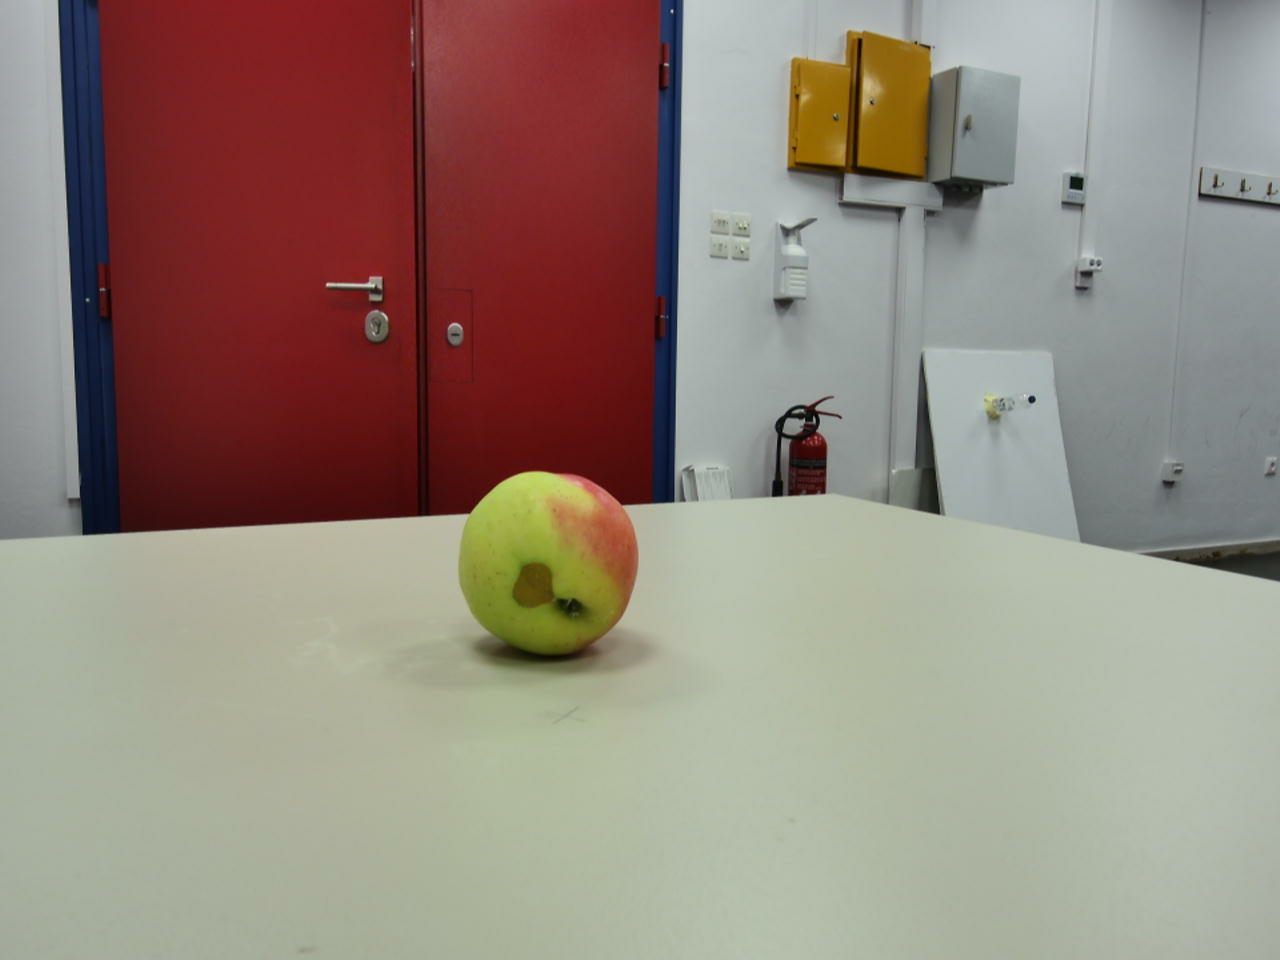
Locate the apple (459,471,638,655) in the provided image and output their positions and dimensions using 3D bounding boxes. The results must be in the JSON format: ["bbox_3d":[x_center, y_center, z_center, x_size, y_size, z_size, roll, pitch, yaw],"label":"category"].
[{"bbox_3d":[-0.037,0.034,0.419,0.075,0.074,0.075,4,6,44],"label":"apple"}]
